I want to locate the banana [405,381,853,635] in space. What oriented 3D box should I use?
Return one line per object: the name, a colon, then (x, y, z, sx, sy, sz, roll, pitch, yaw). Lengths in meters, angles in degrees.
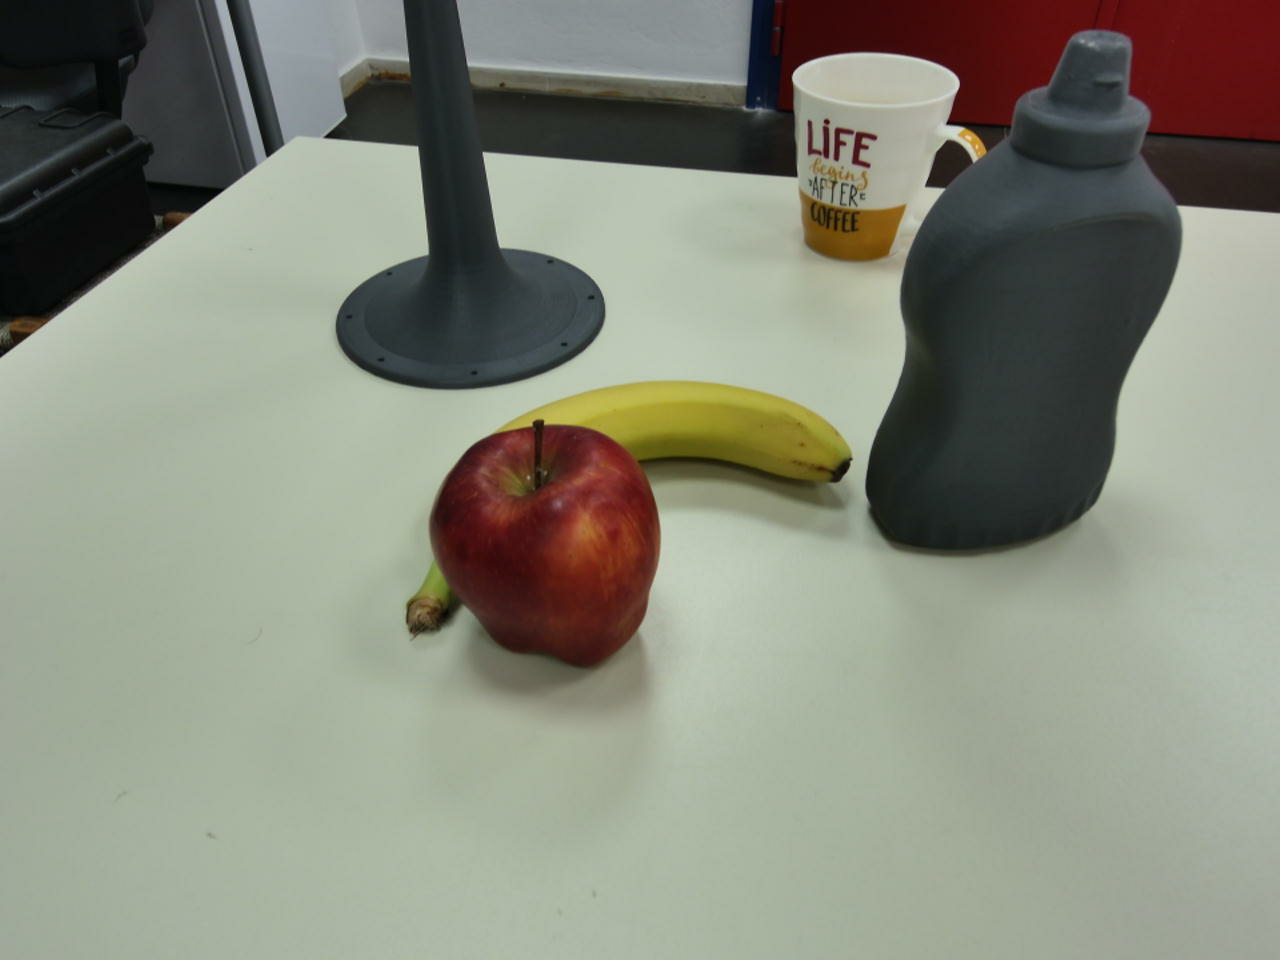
banana: (-0.014, -0.005, 0.430, 0.196, 0.041, 0.094, -14, 40, -17)
